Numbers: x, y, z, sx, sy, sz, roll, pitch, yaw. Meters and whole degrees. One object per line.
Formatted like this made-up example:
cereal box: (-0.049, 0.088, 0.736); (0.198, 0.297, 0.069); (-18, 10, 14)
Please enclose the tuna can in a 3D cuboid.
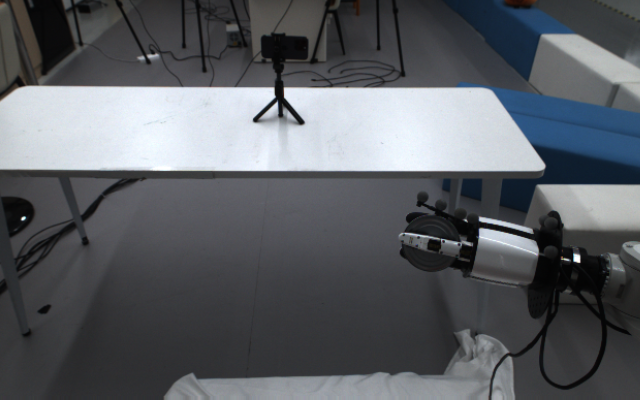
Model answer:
tuna can: (0.171, 0.062, 0.734); (0.085, 0.085, 0.034); (13, 3, 16)
